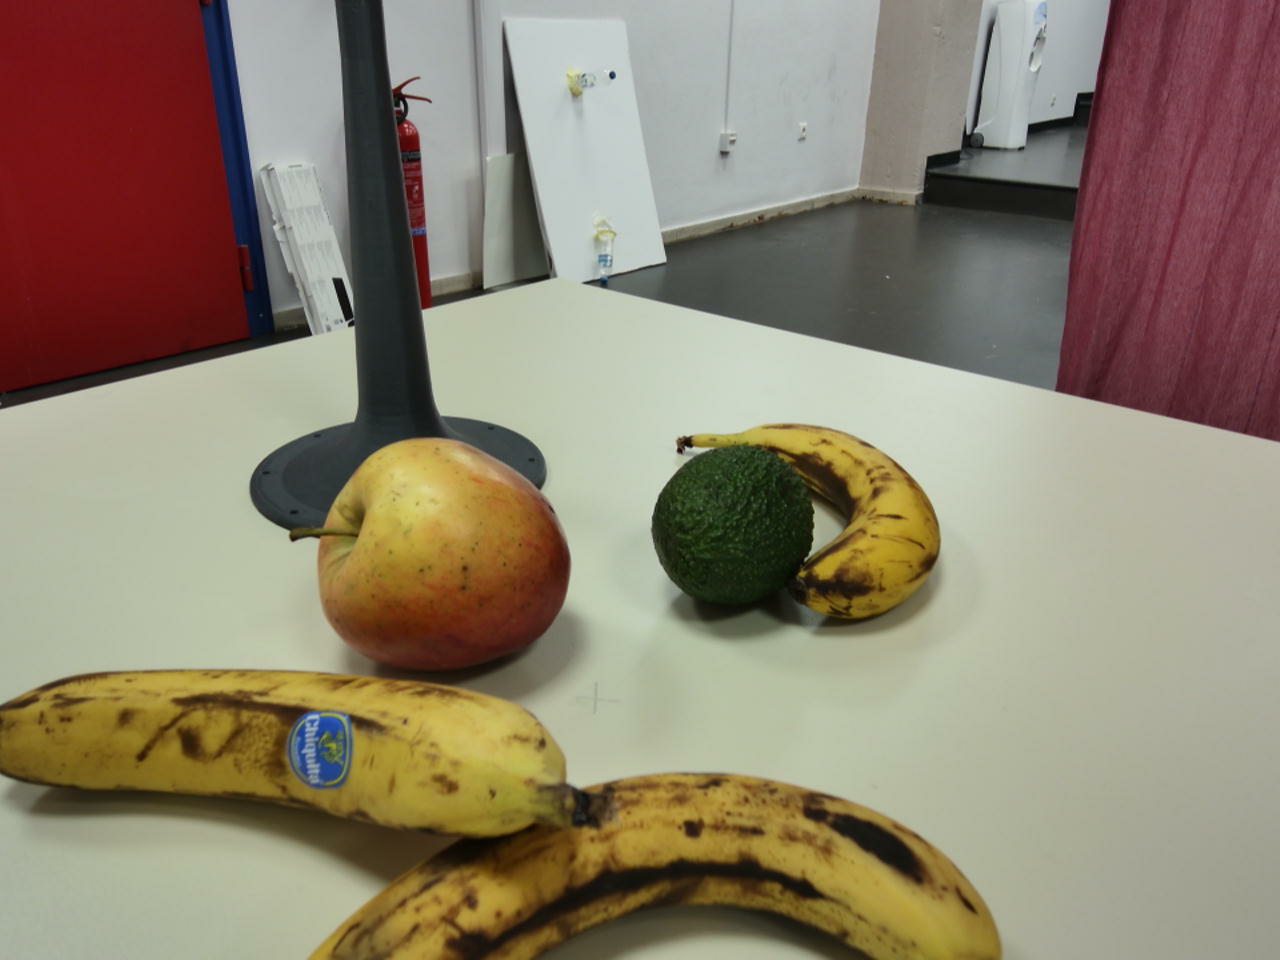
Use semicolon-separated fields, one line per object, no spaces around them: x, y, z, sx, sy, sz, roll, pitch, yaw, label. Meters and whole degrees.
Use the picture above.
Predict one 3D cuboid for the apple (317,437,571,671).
-0.074;0.029;0.374;0.093;0.084;0.086;1;22;3;apple
